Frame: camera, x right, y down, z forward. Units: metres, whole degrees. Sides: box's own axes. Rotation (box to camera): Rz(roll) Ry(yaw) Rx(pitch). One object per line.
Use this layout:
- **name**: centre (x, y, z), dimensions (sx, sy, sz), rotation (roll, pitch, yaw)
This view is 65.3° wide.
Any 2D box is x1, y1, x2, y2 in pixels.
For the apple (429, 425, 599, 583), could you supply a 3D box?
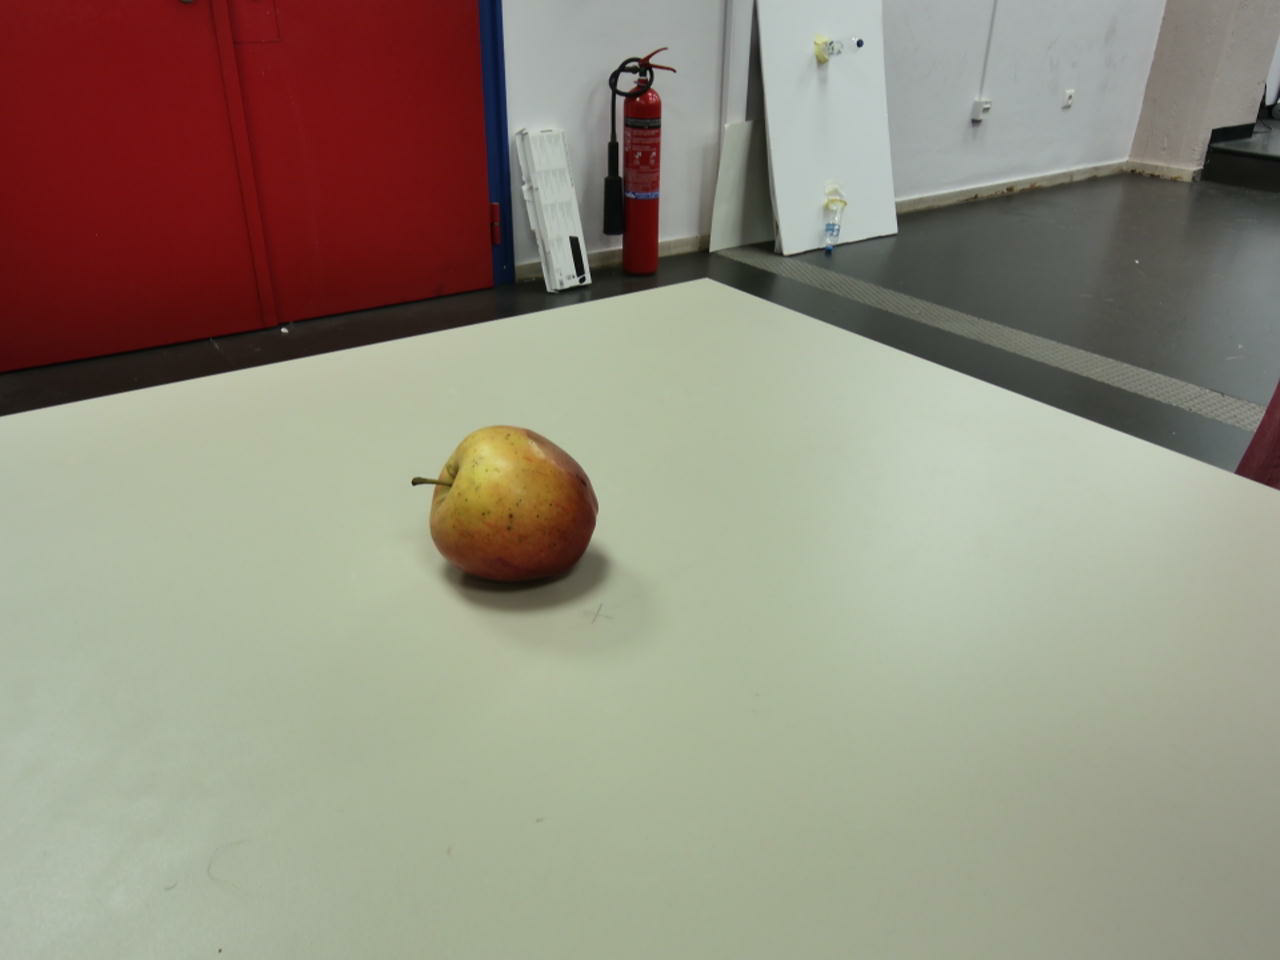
- **apple**: centre (-0.071, 0.014, 0.549), dimensions (0.093, 0.084, 0.086), rotation (7, 27, 16)
